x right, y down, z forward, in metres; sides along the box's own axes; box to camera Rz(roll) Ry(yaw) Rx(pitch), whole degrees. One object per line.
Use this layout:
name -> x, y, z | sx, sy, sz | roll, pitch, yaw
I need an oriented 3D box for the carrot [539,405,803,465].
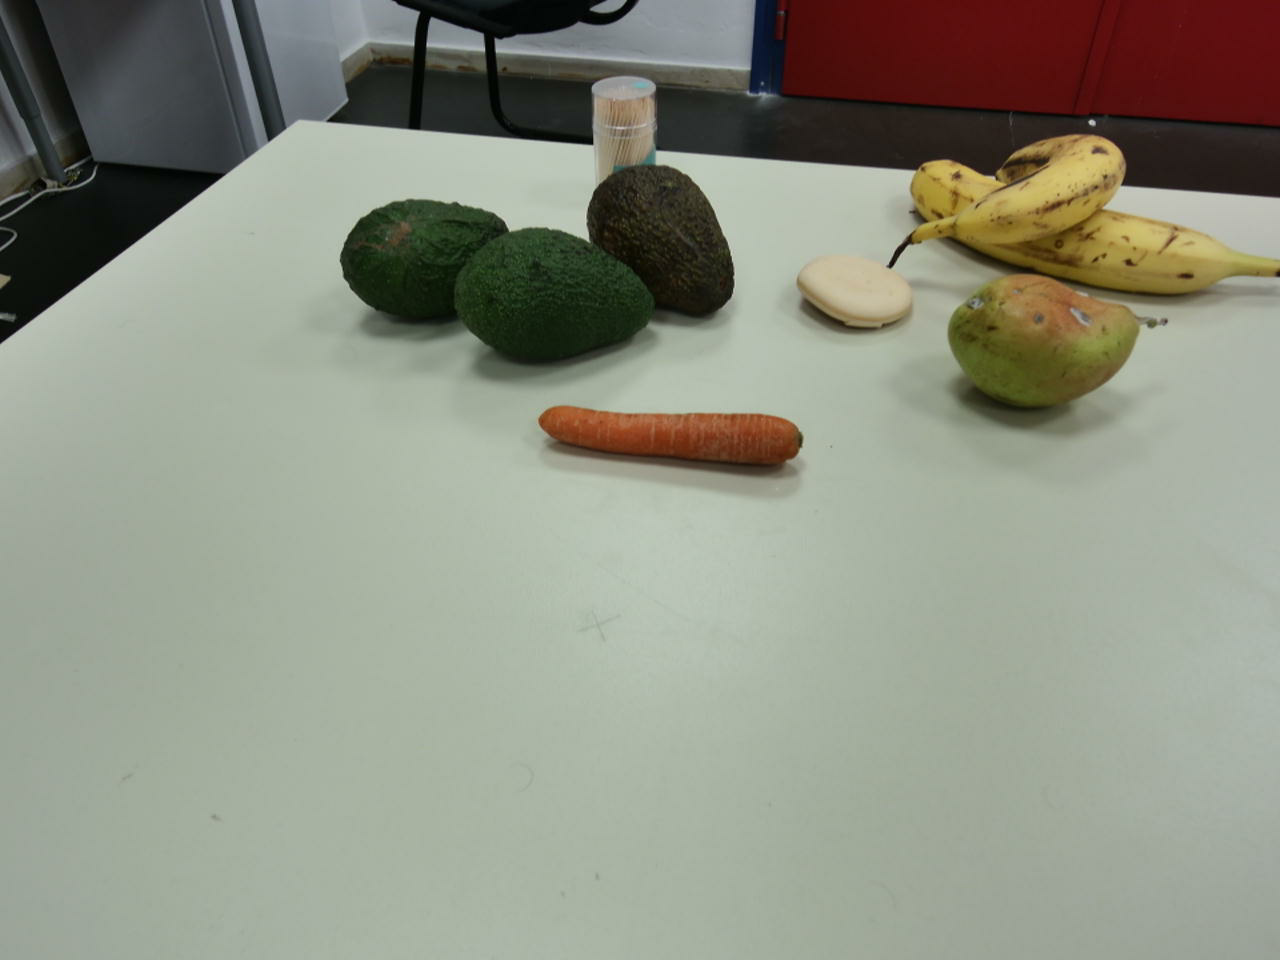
carrot -> 0.013, -0.023, 0.459 | 0.122, 0.023, 0.024 | 7, 39, 9
